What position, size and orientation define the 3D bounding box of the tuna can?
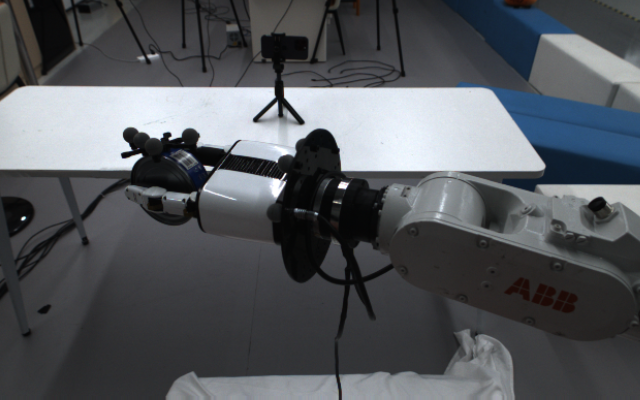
[{"bbox_3d":[-0.166,-0.016,0.547,0.085,0.085,0.034,14,29,17],"label":"tuna can"}]
